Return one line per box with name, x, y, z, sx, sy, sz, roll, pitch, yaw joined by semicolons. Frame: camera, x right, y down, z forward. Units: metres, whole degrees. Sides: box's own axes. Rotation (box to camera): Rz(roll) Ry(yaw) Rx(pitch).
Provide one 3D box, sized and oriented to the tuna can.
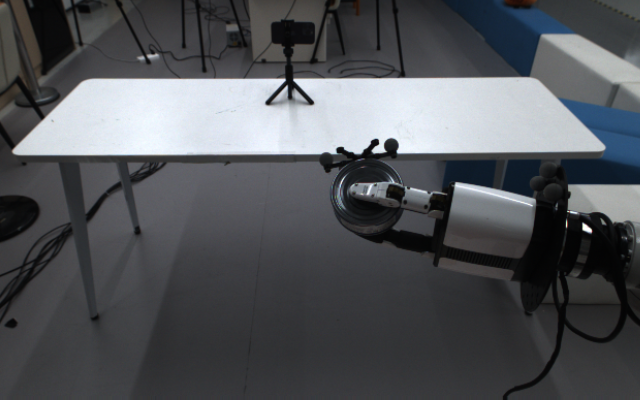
tuna can;0.058;-0.007;0.561;0.085;0.034;0.085;-4;68;9
